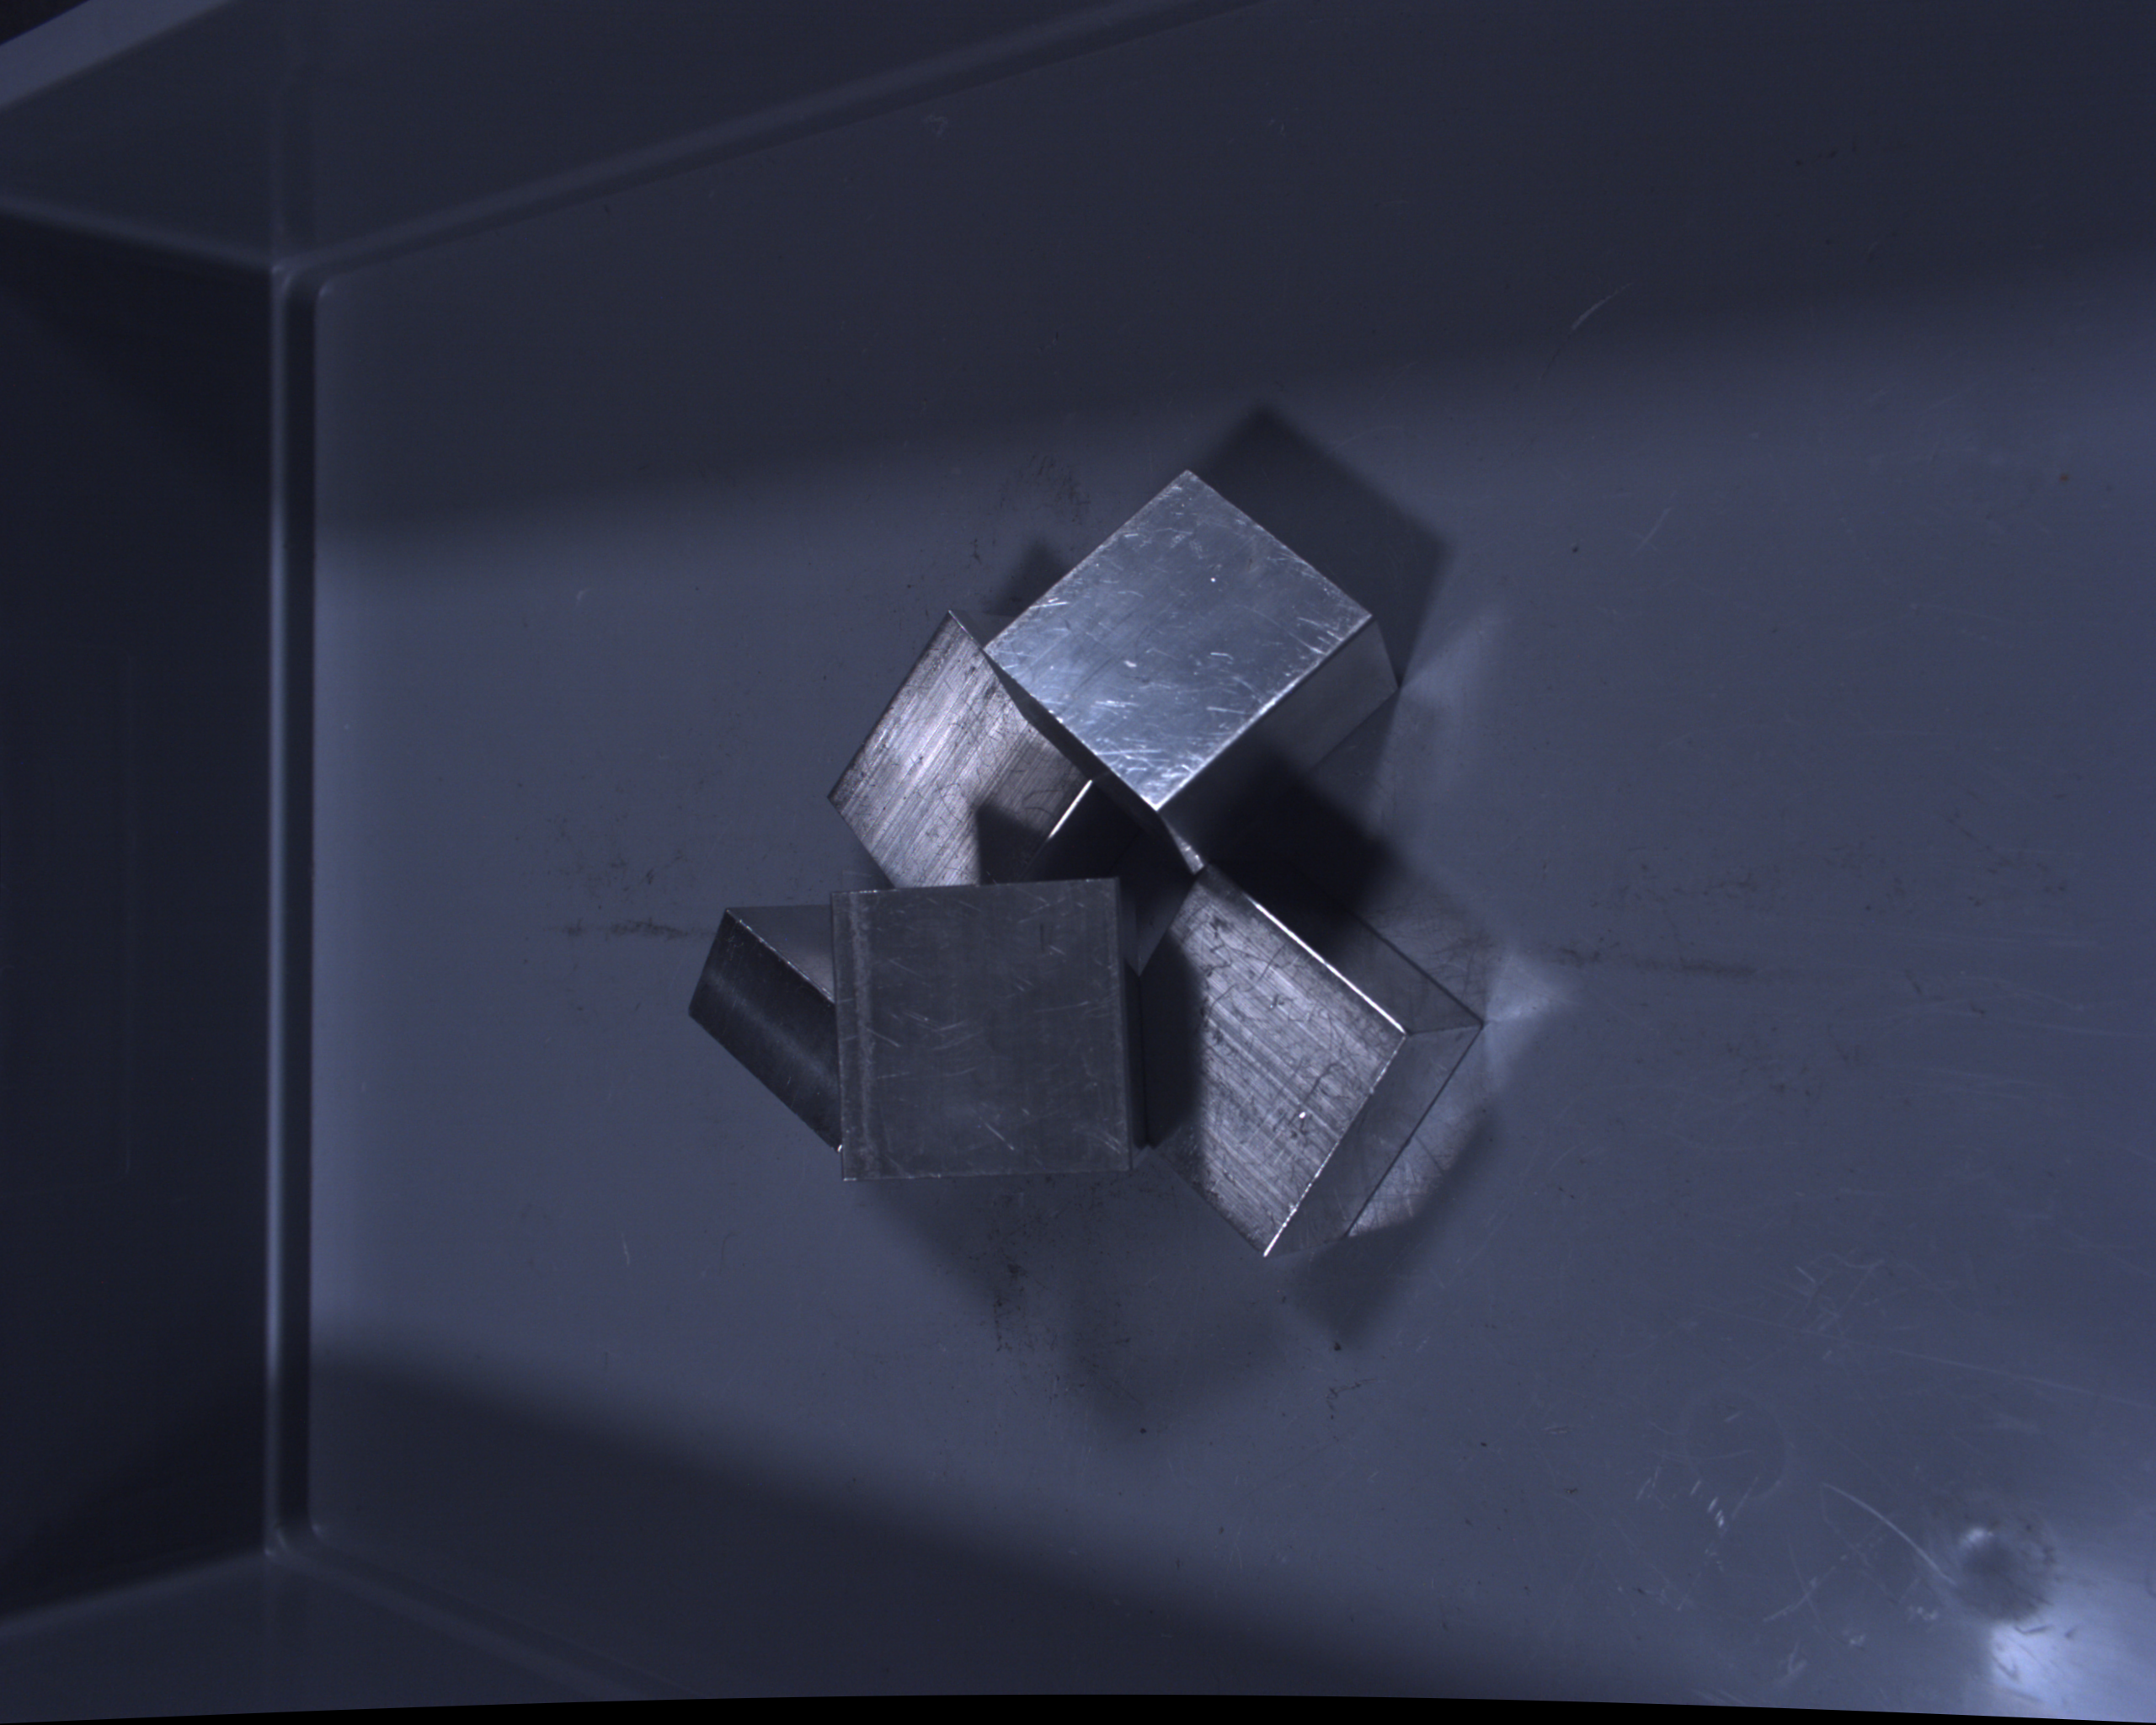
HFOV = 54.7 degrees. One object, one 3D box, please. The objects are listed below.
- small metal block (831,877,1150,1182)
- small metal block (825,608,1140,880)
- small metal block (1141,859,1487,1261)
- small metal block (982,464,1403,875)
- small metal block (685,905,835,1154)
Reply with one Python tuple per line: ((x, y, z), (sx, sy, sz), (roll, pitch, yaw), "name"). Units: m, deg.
((-0.015, 0.029, 0.368), (0.050, 0.025, 0.050), (-3, 87, 7), "small metal block")
((-0.016, -0.015, 0.415), (0.050, 0.025, 0.050), (51, 120, 27), "small metal block")
((0.036, 0.034, 0.373), (0.050, 0.025, 0.050), (42, 115, 31), "small metal block")
((0.020, -0.035, 0.372), (0.050, 0.025, 0.050), (-42, 60, -6), "small metal block")
((-0.041, 0.032, 0.419), (0.050, 0.050, 0.025), (36, 112, 34), "small metal block")
